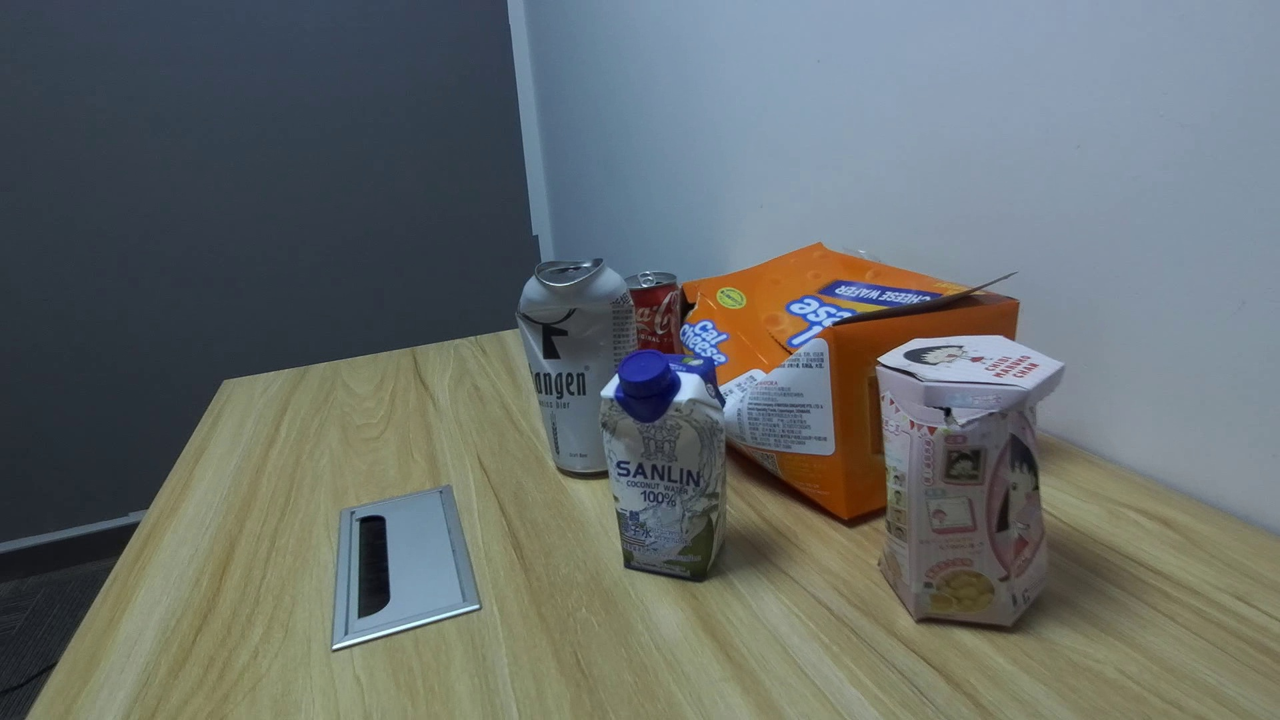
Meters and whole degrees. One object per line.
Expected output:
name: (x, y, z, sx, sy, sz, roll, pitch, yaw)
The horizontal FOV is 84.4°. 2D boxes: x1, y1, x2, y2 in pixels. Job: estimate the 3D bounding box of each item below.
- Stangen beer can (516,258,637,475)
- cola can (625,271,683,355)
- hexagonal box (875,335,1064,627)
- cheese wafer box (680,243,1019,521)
Stangen beer can: (-0.044, 0.006, 0.542, 0.077, 0.162, 0.065, -15, 21, -25)
cola can: (0.017, -0.016, 0.676, 0.066, 0.117, 0.066, -1, 2, 37)
hexagonal box: (0.170, 0.062, 0.379, 0.091, 0.134, 0.090, -6, 17, 0)
cheese wafer box: (0.134, 0.001, 0.541, 0.192, 0.145, 0.218, -13, 21, -23)
